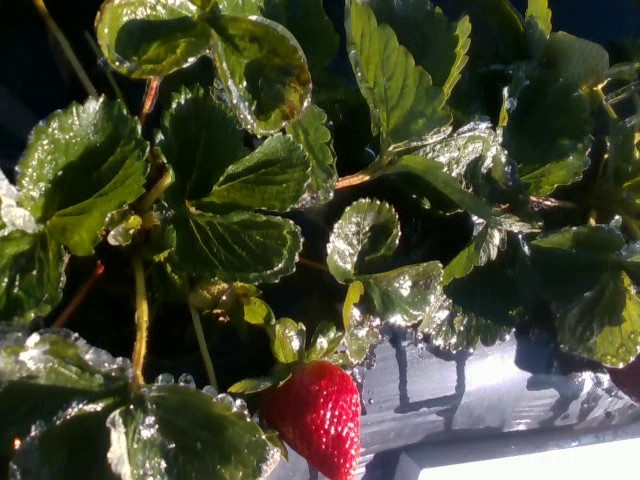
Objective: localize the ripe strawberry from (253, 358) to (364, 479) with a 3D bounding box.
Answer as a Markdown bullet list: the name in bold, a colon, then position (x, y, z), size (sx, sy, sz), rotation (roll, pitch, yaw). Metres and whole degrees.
- **ripe strawberry**: position (0.002, 0.090, 0.265), size (0.042, 0.061, 0.046), rotation (-10, -19, -21)
